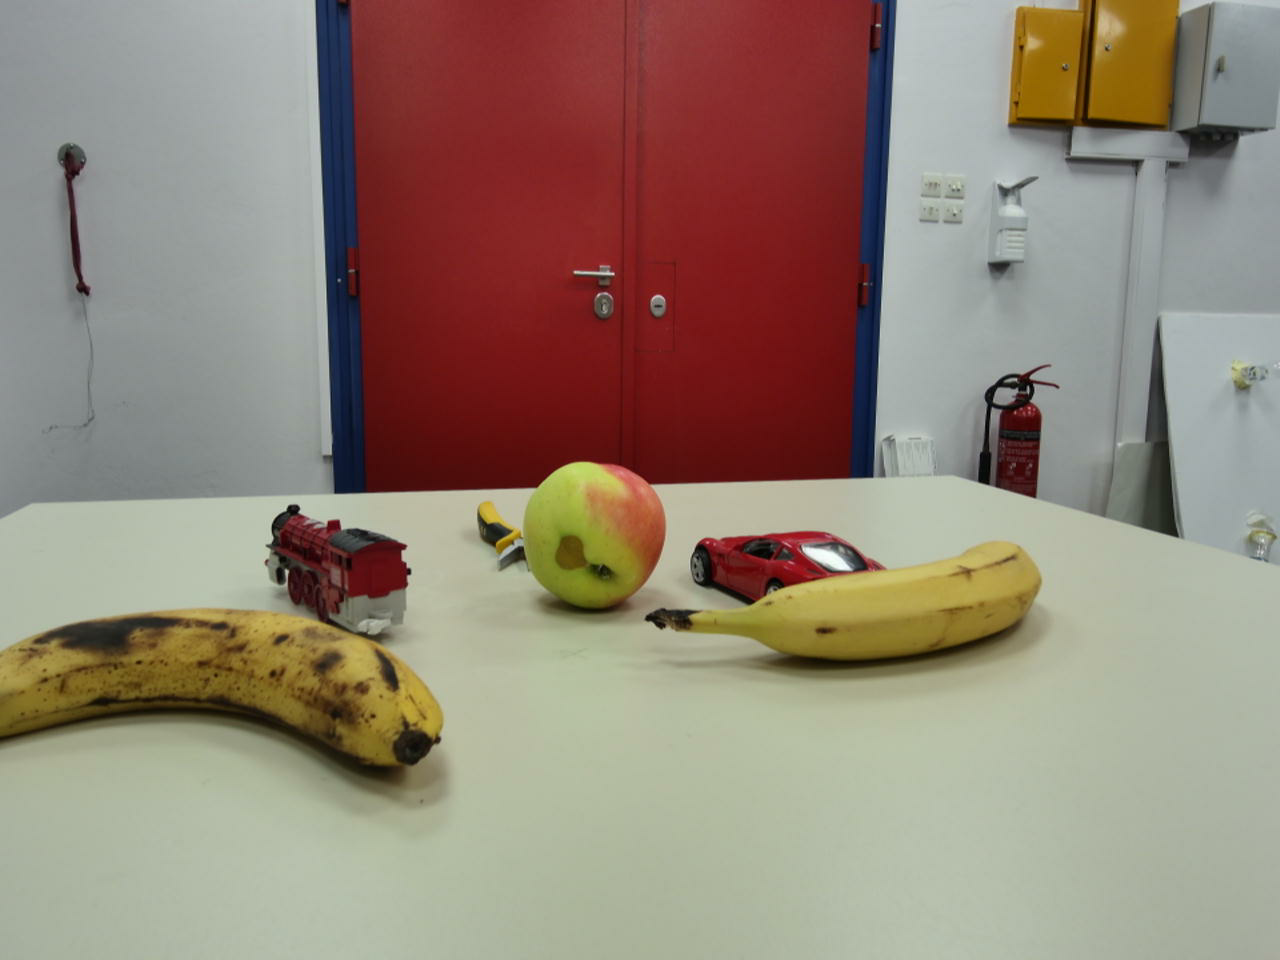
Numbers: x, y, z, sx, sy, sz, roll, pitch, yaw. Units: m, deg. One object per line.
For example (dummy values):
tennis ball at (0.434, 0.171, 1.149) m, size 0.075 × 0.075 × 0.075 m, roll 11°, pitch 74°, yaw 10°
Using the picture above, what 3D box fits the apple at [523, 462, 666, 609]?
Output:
apple at (-0.023, 0.028, 0.521) m, size 0.075 × 0.074 × 0.075 m, roll -5°, pitch 8°, yaw -33°
